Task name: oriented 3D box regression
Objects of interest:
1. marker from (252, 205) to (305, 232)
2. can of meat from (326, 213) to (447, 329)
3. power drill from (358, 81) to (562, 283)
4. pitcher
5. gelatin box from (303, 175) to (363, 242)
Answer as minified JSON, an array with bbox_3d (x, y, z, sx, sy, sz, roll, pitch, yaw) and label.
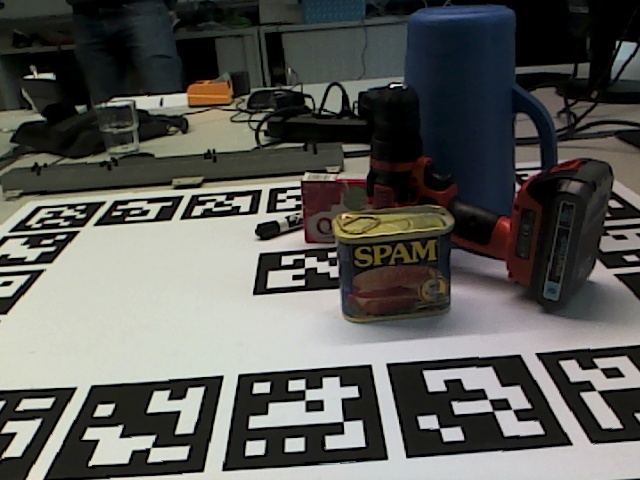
[{"bbox_3d":[-0.026,-0.033,0.759,0.120,0.019,0.020,-18,29,-22],"label":"marker"},{"bbox_3d":[0.058,0.028,0.547,0.102,0.083,0.058,-4,24,0],"label":"can of meat"},{"bbox_3d":[0.121,-0.047,0.583,0.188,0.184,0.057,19,37,29],"label":"power drill"},{"bbox_3d":[0.166,-0.117,0.665,0.190,0.242,0.133,5,30,34],"label":"pitcher"},{"bbox_3d":[0.027,-0.034,0.698,0.089,0.073,0.030,2,31,10],"label":"gelatin box"}]
